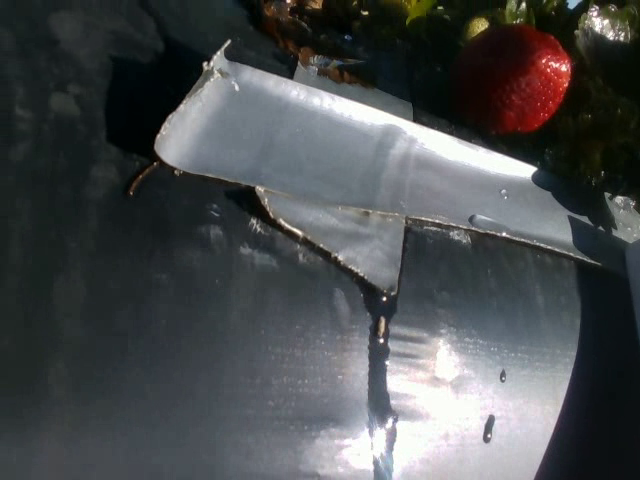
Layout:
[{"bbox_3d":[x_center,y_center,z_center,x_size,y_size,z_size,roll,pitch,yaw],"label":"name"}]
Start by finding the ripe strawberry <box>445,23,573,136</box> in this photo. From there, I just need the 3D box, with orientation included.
[{"bbox_3d":[0.086,-0.064,0.255,0.058,0.061,0.065,-38,7,5],"label":"ripe strawberry"}]
